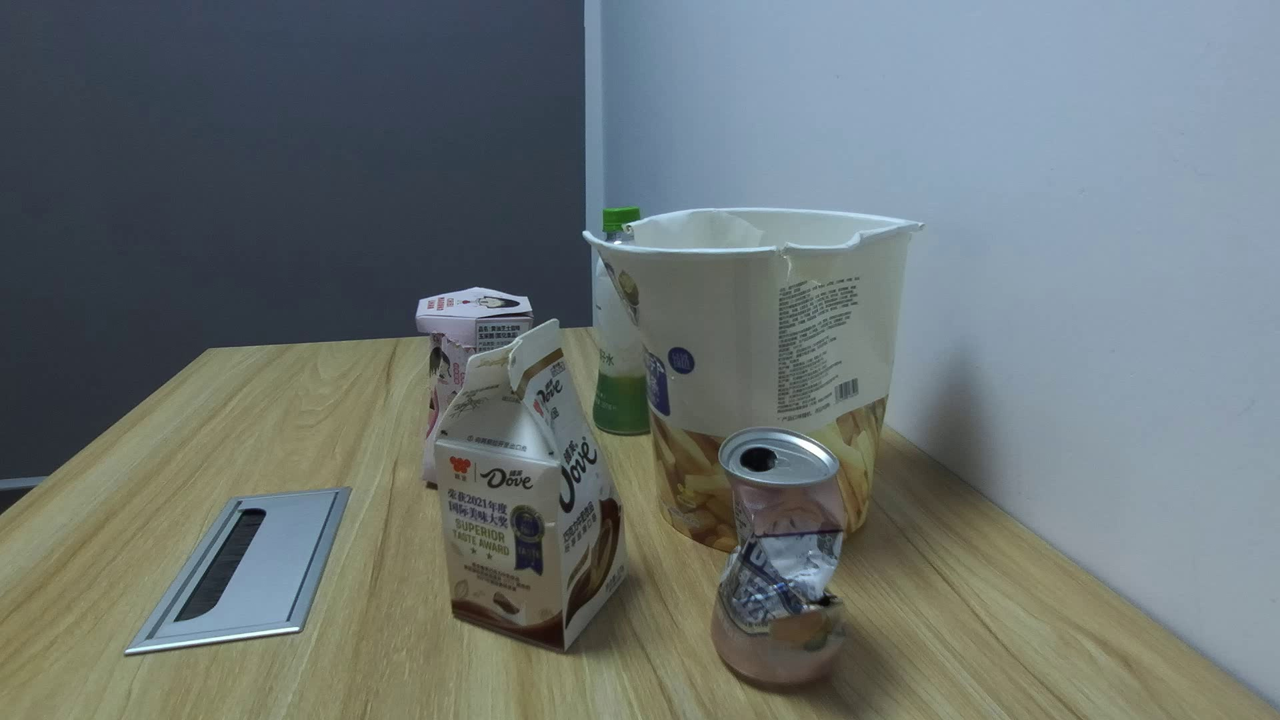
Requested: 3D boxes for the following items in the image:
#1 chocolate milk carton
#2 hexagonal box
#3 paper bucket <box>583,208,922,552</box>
[{"bbox_3d":[-0.054,0.059,0.374,0.073,0.155,0.084,8,20,24],"label":"chocolate milk carton"},{"bbox_3d":[-0.119,0.021,0.527,0.090,0.134,0.091,12,22,26],"label":"hexagonal box"},{"bbox_3d":[0.080,0.006,0.464,0.145,0.197,0.203,12,22,37],"label":"paper bucket"}]
